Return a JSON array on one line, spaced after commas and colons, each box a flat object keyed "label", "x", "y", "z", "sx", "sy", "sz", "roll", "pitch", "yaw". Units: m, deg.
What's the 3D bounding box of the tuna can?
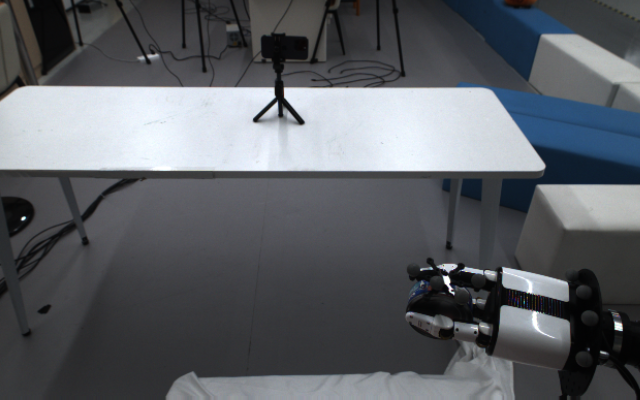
[{"label": "tuna can", "x": 0.162, "y": 0.141, "z": 0.641, "sx": 0.085, "sy": 0.085, "sz": 0.034, "roll": 10, "pitch": 34, "yaw": 11}]
